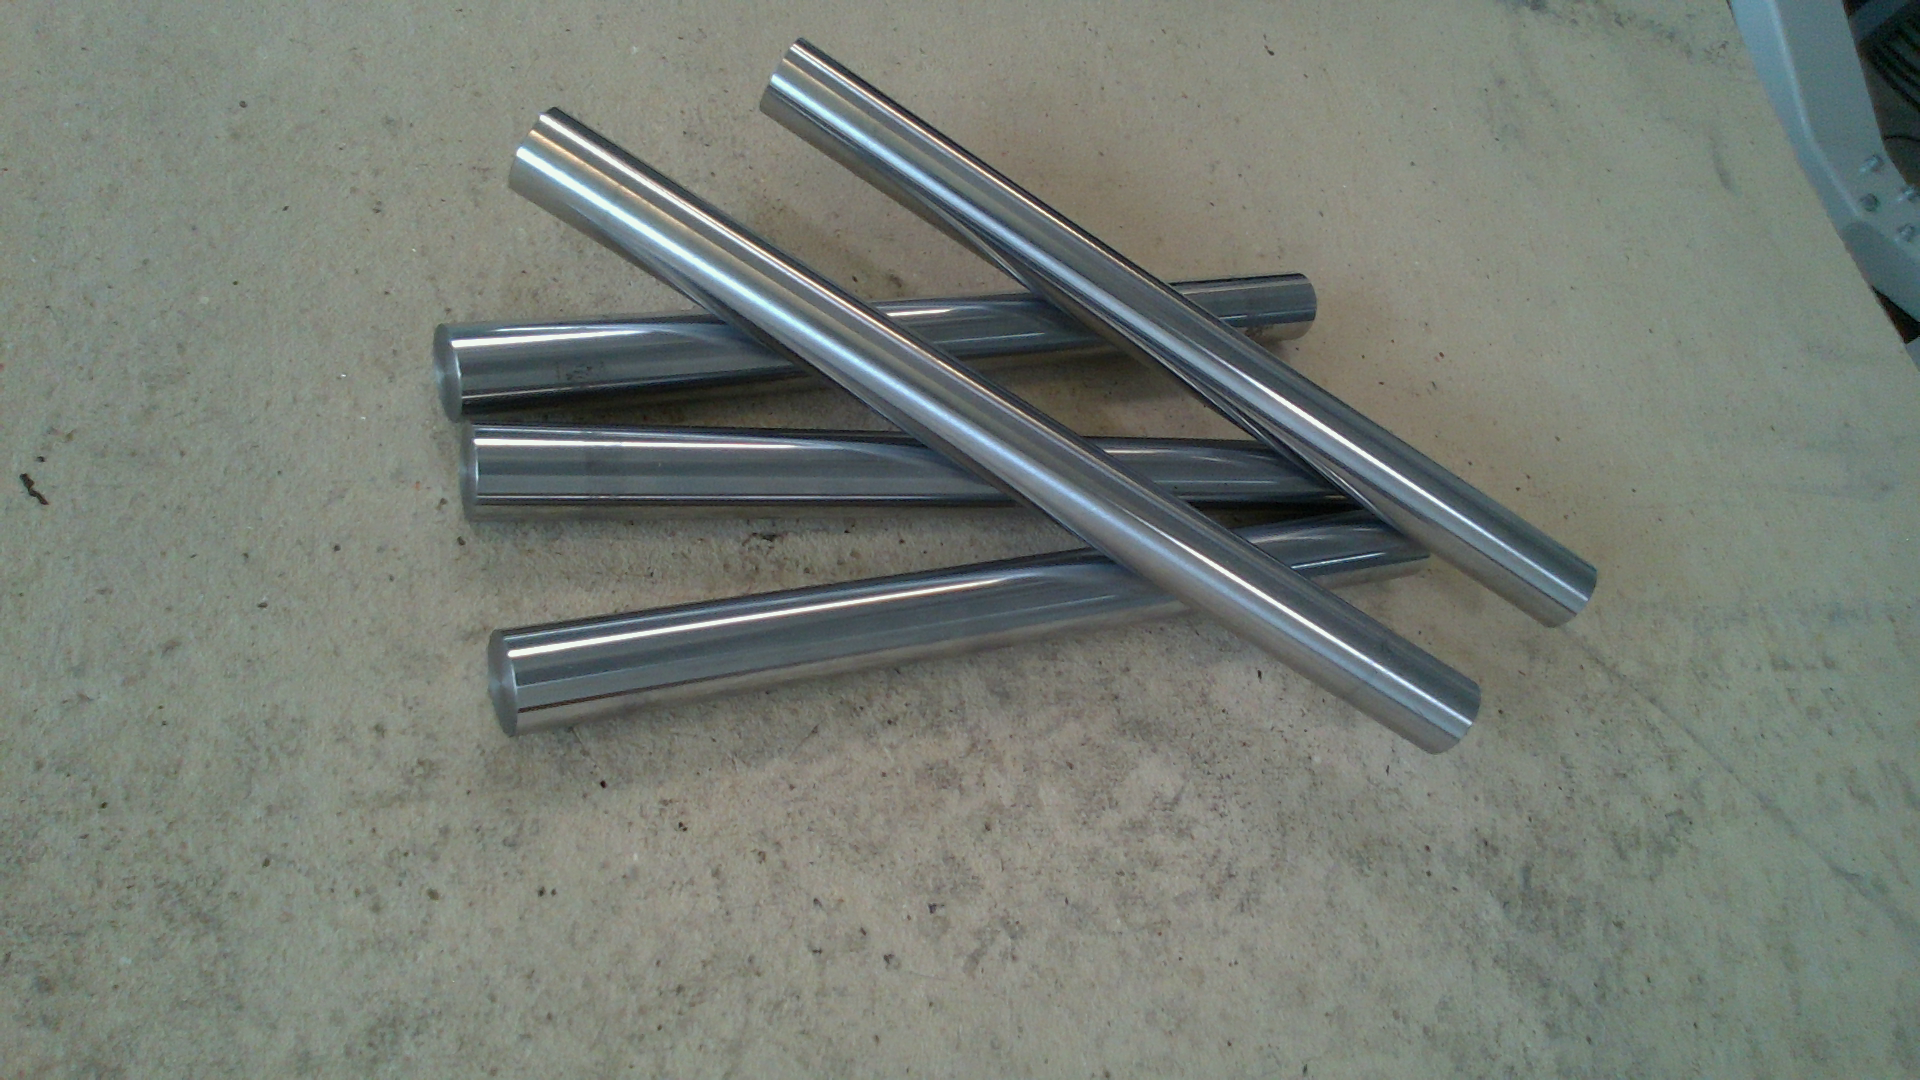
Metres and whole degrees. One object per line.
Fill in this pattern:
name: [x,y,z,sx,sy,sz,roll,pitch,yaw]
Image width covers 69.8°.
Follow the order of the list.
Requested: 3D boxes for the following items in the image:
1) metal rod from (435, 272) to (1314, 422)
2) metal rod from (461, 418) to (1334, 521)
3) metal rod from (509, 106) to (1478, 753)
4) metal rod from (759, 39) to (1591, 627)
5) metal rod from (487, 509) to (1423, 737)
metal rod: [-0.004,-0.064,0.427,0.301,0.025,0.025,-10,67,-32]
metal rod: [0.012,-0.020,0.408,0.301,0.025,0.025,-1,62,-29]
metal rod: [0.016,-0.026,0.382,0.300,0.025,0.025,31,52,-8]
metal rod: [0.072,-0.061,0.434,0.300,0.025,0.025,32,51,-8]
metal rod: [0.023,0.016,0.392,0.301,0.025,0.025,-7,65,-31]
